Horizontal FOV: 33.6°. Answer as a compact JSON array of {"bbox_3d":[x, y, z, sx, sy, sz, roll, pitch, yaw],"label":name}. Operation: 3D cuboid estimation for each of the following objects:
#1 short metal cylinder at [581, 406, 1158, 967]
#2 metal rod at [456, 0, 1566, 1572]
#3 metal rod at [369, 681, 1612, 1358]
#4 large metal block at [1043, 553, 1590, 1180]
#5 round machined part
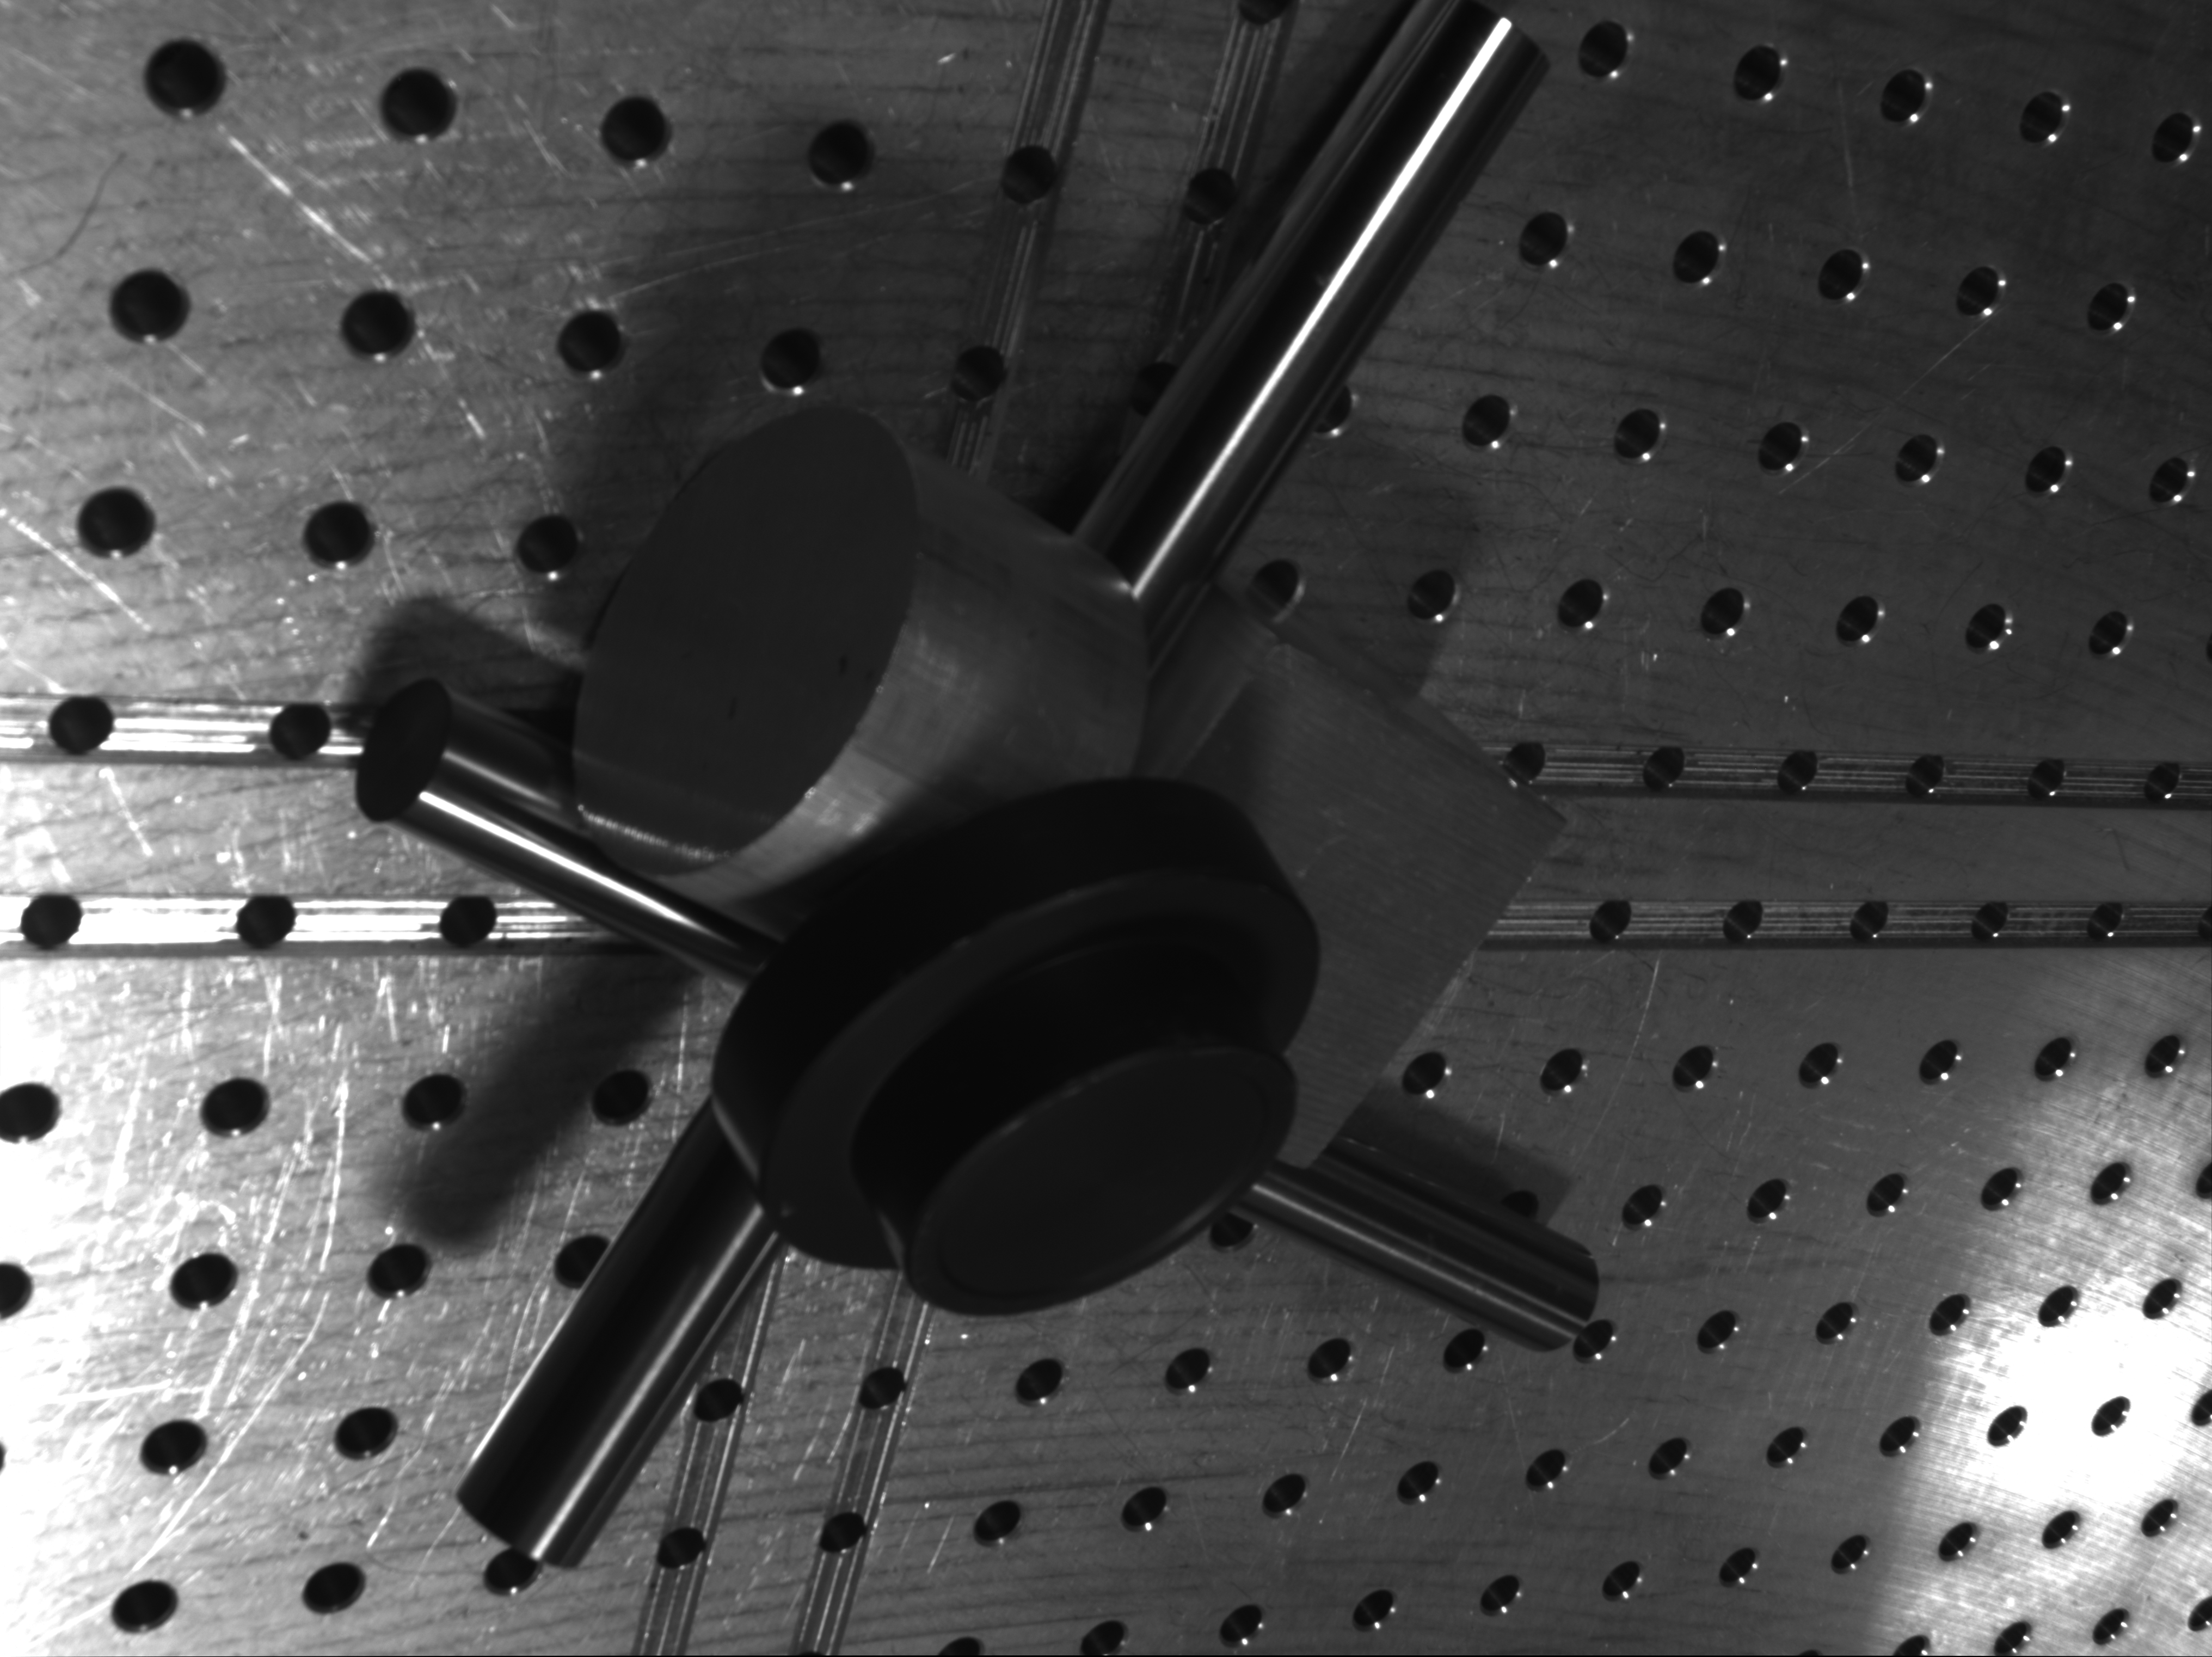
[{"bbox_3d":[-0.038,-0.020,0.583,0.050,0.080,0.080,29,102,-39],"label":"short metal cylinder"},{"bbox_3d":[-0.016,-0.007,0.615,0.025,0.025,0.300,32,92,-39],"label":"metal rod"},{"bbox_3d":[-0.006,0.044,0.676,0.301,0.025,0.025,28,102,-39],"label":"metal rod"},{"bbox_3d":[0.024,0.005,0.650,0.080,0.050,0.080,30,101,-39],"label":"large metal block"},{"bbox_3d":[-0.007,0.041,0.578,0.098,0.042,0.098,-22,148,-14],"label":"round machined part"}]
